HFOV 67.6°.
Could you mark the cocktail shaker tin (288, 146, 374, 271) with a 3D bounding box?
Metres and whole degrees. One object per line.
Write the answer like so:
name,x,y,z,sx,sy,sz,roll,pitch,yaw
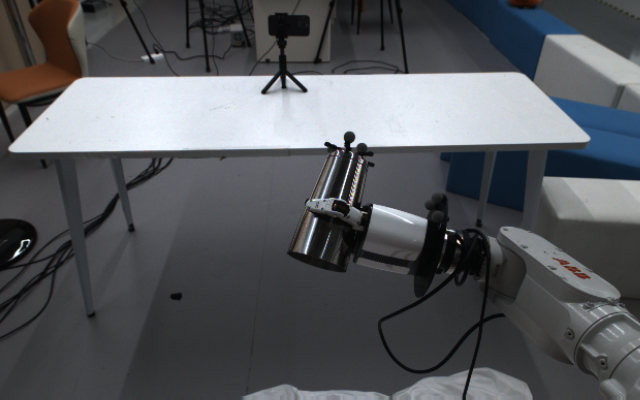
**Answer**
cocktail shaker tin,0.019,0.014,0.733,0.093,0.093,0.170,14,74,16
